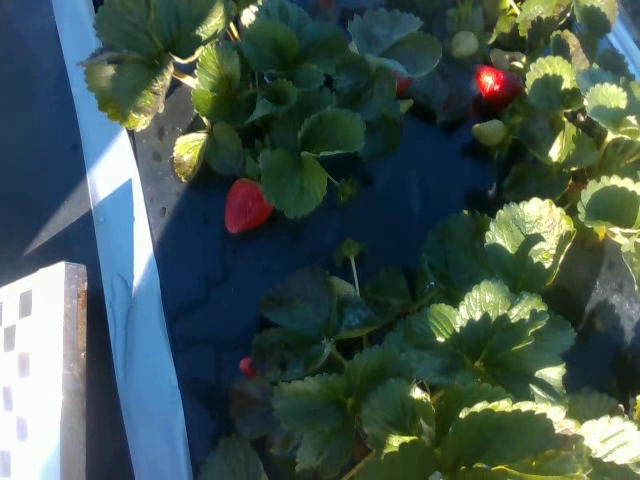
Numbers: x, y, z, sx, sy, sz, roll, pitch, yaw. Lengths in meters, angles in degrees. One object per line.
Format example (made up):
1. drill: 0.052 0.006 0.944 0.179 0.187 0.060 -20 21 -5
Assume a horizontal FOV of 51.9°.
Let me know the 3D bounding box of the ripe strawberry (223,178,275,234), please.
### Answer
1. ripe strawberry: -0.063 -0.026 0.534 0.046 0.058 0.042 15 -21 40
